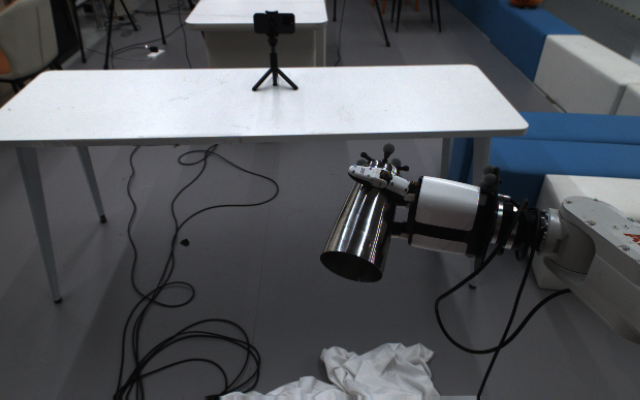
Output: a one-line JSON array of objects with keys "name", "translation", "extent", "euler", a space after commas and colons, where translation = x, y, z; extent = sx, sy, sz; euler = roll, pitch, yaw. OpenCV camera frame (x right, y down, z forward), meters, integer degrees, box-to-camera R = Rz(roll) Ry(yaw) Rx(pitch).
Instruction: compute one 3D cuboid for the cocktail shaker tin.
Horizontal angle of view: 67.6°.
[{"name": "cocktail shaker tin", "translation": [0.070, 0.022, 0.723], "extent": [0.093, 0.093, 0.170], "euler": [13, 59, 16]}]
